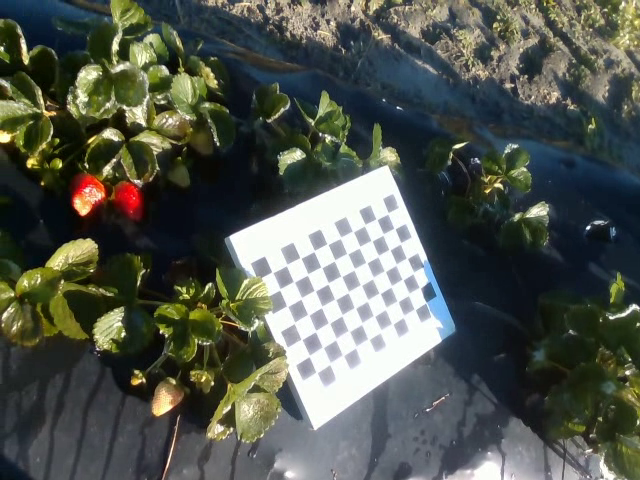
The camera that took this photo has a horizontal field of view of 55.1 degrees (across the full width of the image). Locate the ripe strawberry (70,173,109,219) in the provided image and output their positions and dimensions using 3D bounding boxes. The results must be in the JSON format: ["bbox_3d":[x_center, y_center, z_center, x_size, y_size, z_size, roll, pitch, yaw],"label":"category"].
[{"bbox_3d":[-0.319,-0.058,0.833,0.052,0.070,0.040,29,-28,-30],"label":"ripe strawberry"}]

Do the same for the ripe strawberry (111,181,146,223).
[{"bbox_3d":[-0.267,-0.057,0.850,0.043,0.059,0.040,-26,0,-30],"label":"ripe strawberry"}]
